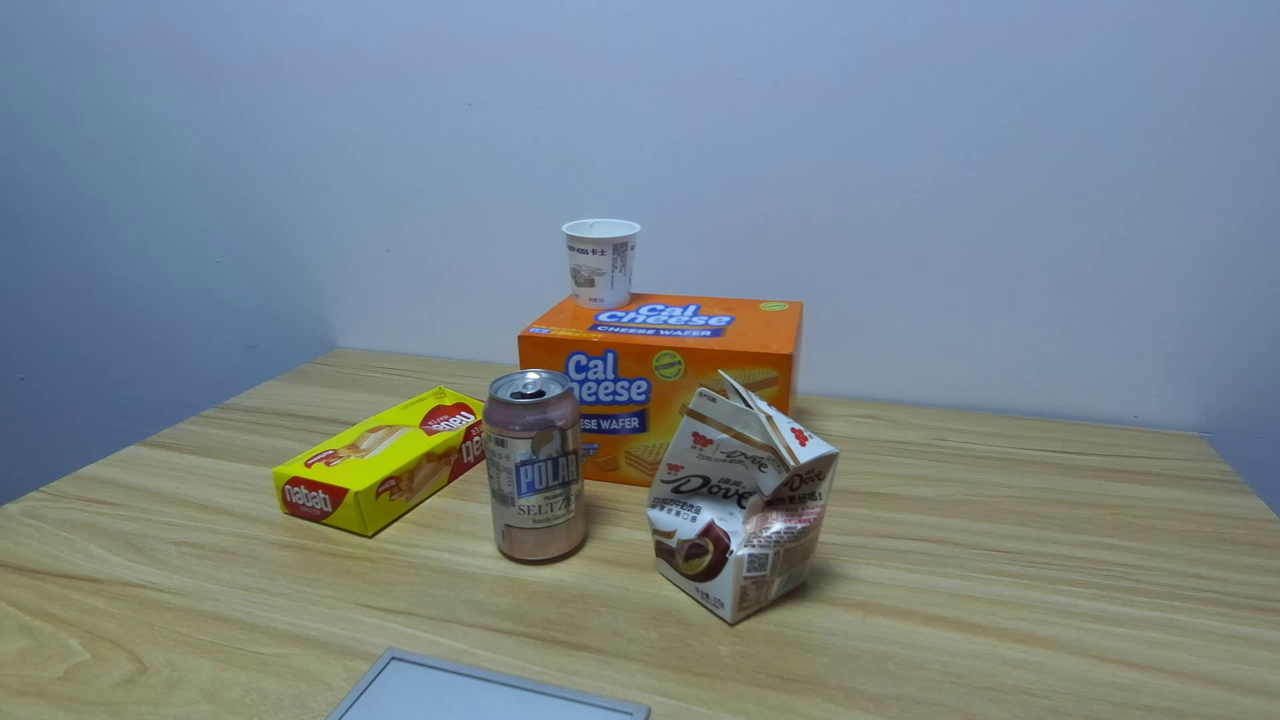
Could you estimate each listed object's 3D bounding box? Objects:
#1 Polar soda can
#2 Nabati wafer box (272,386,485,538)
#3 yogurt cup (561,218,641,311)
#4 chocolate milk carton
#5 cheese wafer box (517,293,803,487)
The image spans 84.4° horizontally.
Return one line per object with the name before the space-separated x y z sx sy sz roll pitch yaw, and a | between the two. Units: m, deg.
Polar soda can | -0.074 0.074 0.498 0.067 0.125 0.067 0 20 0
Nabati wafer box | -0.200 0.077 0.617 0.096 0.042 0.204 6 21 27
yogurt cup | -0.035 -0.086 0.638 0.072 0.068 0.072 1 22 0
chocolate milk carton | 0.063 0.083 0.437 0.077 0.155 0.089 -23 43 -35
cheese wafer box | 0.026 0.022 0.626 0.221 0.129 0.148 5 22 14
